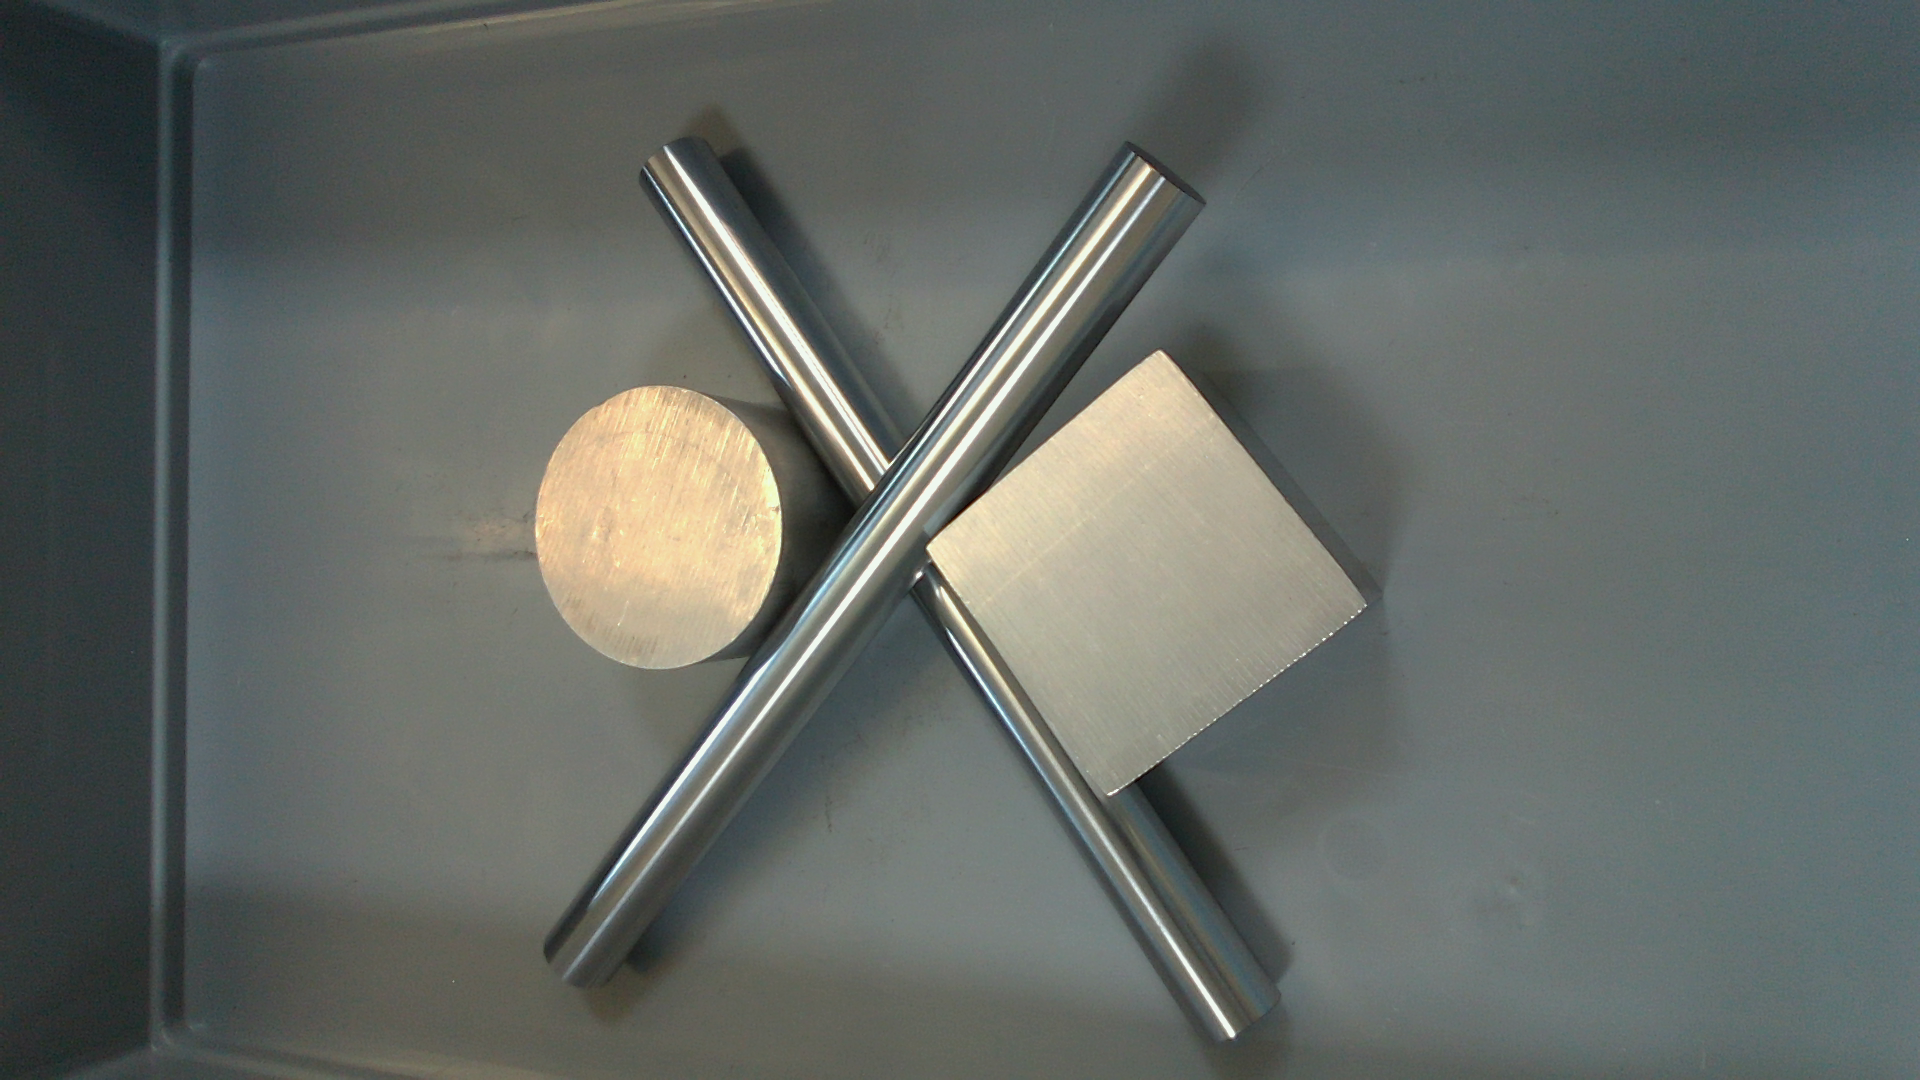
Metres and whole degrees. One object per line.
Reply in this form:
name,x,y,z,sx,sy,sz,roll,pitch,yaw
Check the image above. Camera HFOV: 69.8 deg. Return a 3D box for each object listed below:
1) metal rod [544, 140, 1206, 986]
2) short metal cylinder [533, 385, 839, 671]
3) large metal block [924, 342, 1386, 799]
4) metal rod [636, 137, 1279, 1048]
metal rod,-0.036,0.022,0.385,0.025,0.025,0.299,44,112,15
short metal cylinder,-0.078,-0.003,0.409,0.080,0.050,0.080,0,90,20
large metal block,0.052,0.008,0.362,0.080,0.050,0.080,-40,77,16
metal rod,-0.007,0.006,0.396,0.025,0.025,0.300,-37,78,16
